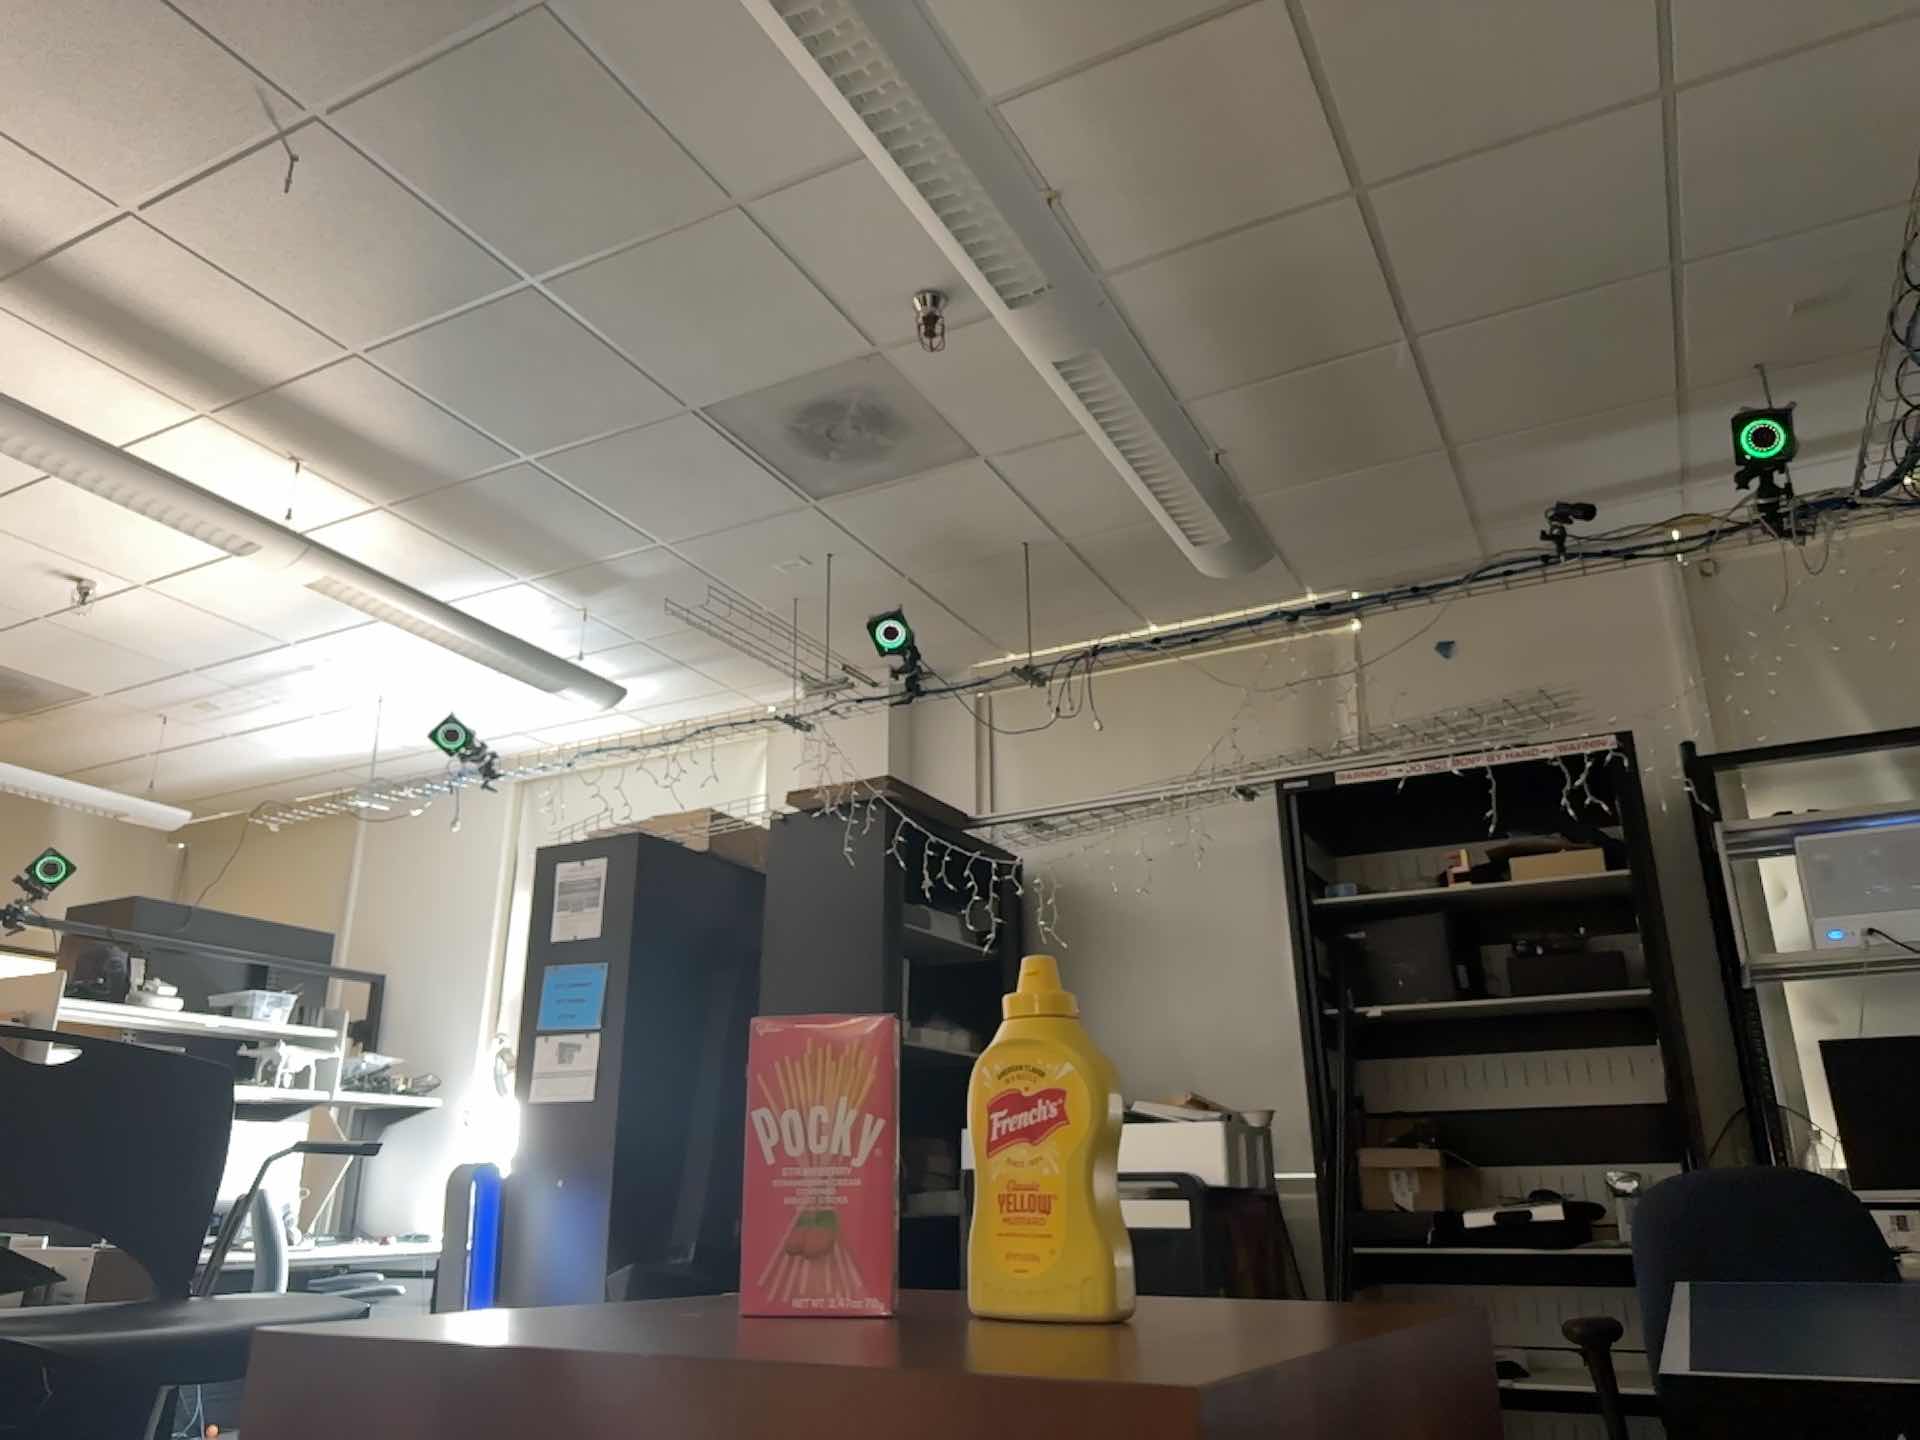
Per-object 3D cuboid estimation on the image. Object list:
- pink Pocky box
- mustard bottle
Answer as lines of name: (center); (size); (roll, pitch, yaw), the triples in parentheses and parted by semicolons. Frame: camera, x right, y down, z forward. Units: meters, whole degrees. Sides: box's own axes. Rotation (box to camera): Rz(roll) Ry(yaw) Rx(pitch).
pink Pocky box: (-0.072, 0.236, 0.729); (0.084, 0.154, 0.029); (-3, -17, 13)
mustard bottle: (0.043, 0.215, 0.708); (0.092, 0.184, 0.054); (-12, -18, 32)
